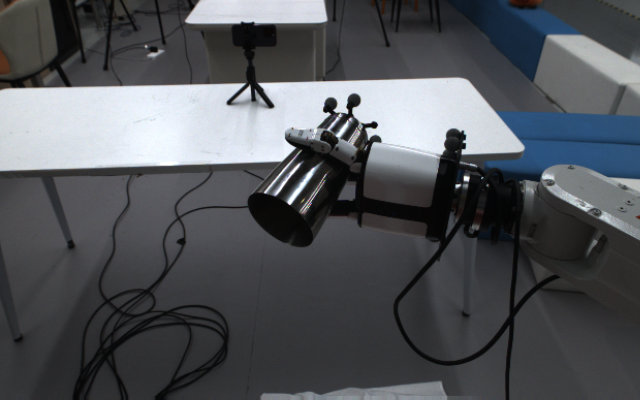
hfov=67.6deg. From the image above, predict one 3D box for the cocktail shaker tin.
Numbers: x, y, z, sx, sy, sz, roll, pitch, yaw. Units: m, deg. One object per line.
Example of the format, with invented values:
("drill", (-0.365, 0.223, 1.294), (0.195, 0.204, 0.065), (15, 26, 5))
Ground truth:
("cocktail shaker tin", (-0.003, -0.038, 0.610), (0.093, 0.093, 0.170), (19, 55, 22))
